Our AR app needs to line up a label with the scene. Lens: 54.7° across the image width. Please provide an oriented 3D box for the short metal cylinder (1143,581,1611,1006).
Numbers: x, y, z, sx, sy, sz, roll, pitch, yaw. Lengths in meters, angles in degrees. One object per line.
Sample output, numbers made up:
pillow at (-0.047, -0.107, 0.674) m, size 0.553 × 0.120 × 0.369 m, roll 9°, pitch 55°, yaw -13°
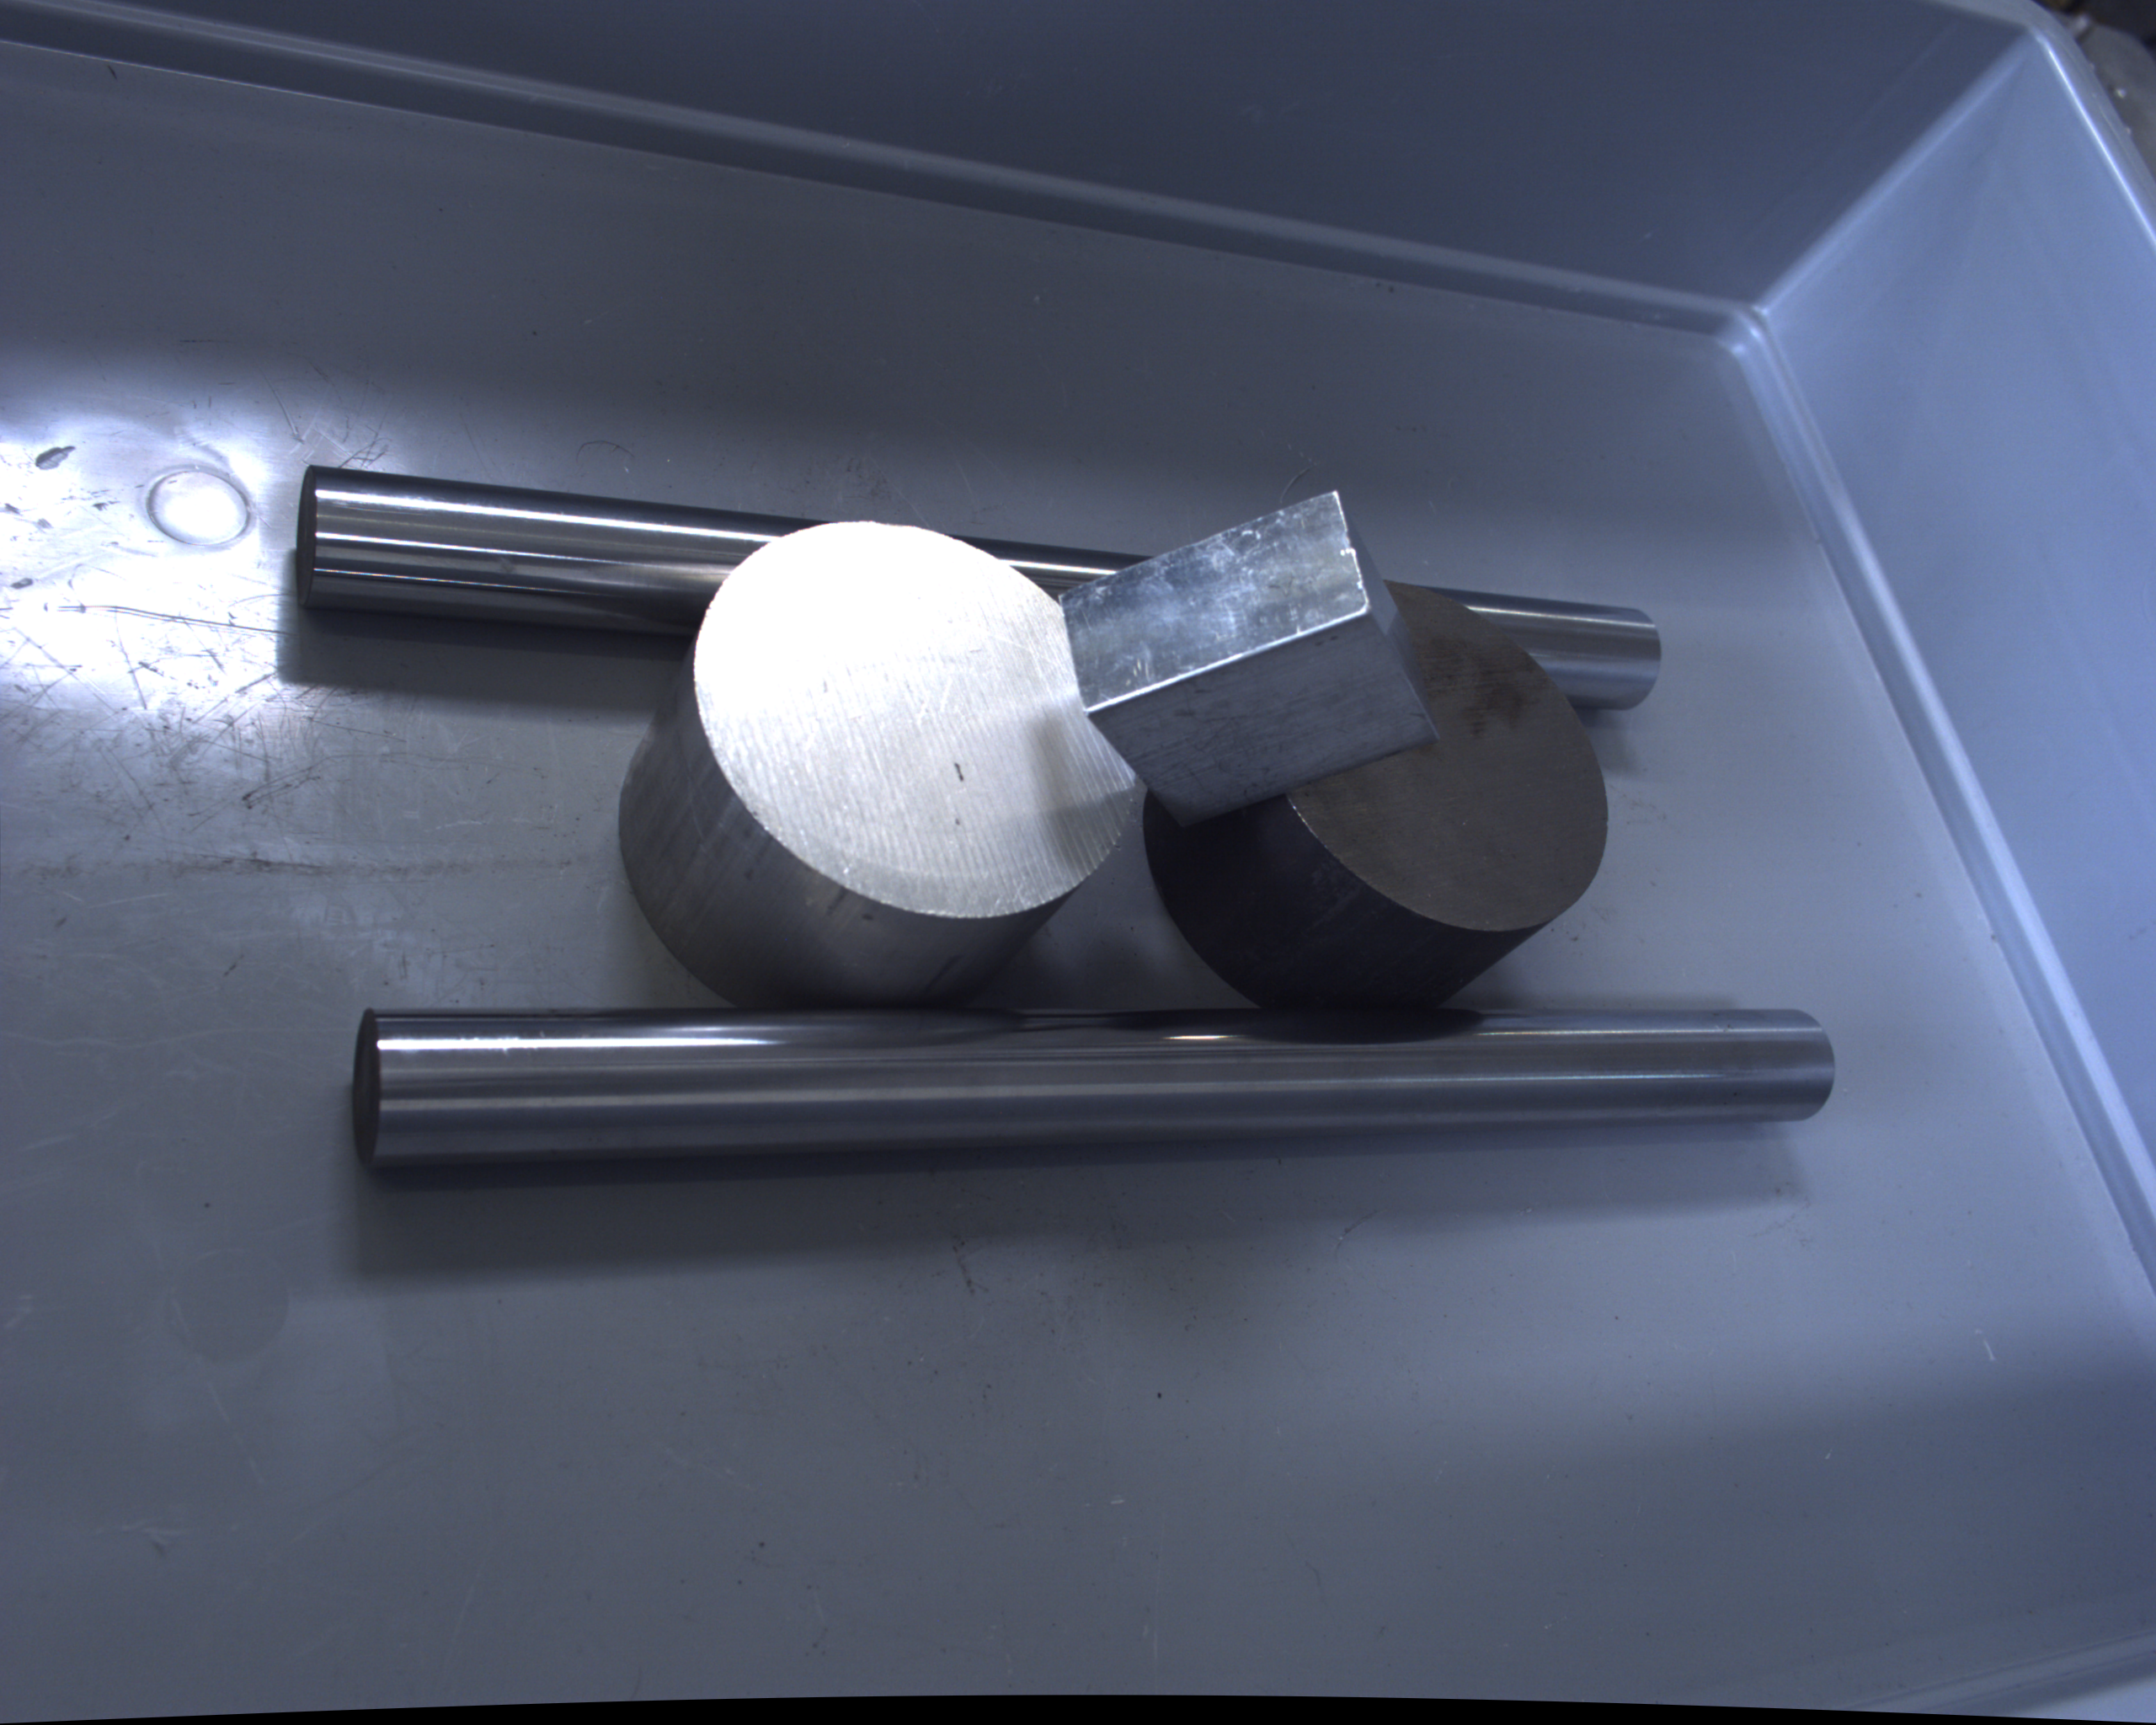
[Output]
short metal cylinder at (0.060, -0.011, 0.427) m, size 0.081 × 0.050 × 0.080 m, roll 14°, pitch 56°, yaw -21°

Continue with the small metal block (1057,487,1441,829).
small metal block at (0.031, -0.034, 0.366) m, size 0.050 × 0.050 × 0.025 m, roll 45°, pitch 29°, yaw -59°

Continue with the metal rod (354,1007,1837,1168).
metal rod at (0.024, 0.040, 0.392) m, size 0.303 × 0.025 × 0.025 m, roll 2°, pitch 61°, yaw -27°

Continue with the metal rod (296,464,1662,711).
metal rod at (-0.001, -0.053, 0.436) m, size 0.303 × 0.025 × 0.025 m, roll 2°, pitch 61°, yaw -27°

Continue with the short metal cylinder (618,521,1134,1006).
short metal cylinder at (-0.037, -0.014, 0.377) m, size 0.081 × 0.050 × 0.080 m, roll 14°, pitch 56°, yaw -21°
